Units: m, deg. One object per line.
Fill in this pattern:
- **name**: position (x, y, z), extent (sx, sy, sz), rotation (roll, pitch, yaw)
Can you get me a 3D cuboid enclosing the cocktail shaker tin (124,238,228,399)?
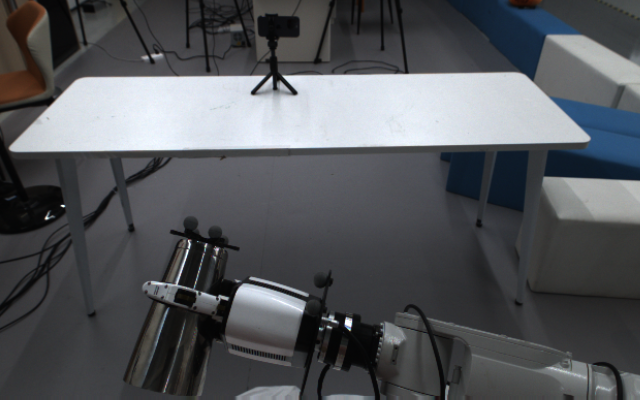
- **cocktail shaker tin**: position (-0.166, 0.140, 0.589), extent (0.093, 0.093, 0.170), rotation (10, 74, 12)
